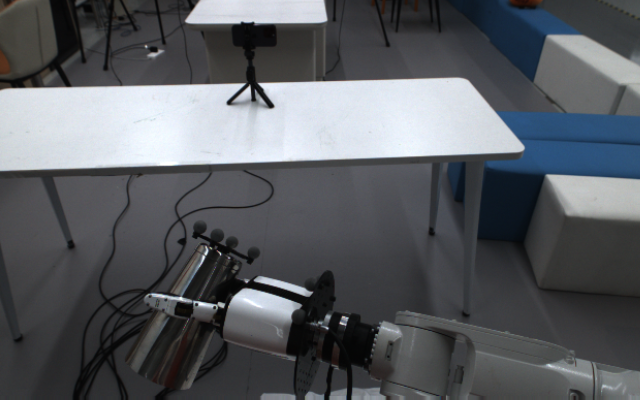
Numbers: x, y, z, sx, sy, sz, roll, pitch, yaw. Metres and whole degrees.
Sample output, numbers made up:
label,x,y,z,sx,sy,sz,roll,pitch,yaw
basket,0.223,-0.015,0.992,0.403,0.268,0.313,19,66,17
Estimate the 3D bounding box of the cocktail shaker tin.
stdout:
label,x,y,z,sx,sy,sz,roll,pitch,yaw
cocktail shaker tin,-0.170,0.143,0.635,0.093,0.093,0.170,22,81,26
